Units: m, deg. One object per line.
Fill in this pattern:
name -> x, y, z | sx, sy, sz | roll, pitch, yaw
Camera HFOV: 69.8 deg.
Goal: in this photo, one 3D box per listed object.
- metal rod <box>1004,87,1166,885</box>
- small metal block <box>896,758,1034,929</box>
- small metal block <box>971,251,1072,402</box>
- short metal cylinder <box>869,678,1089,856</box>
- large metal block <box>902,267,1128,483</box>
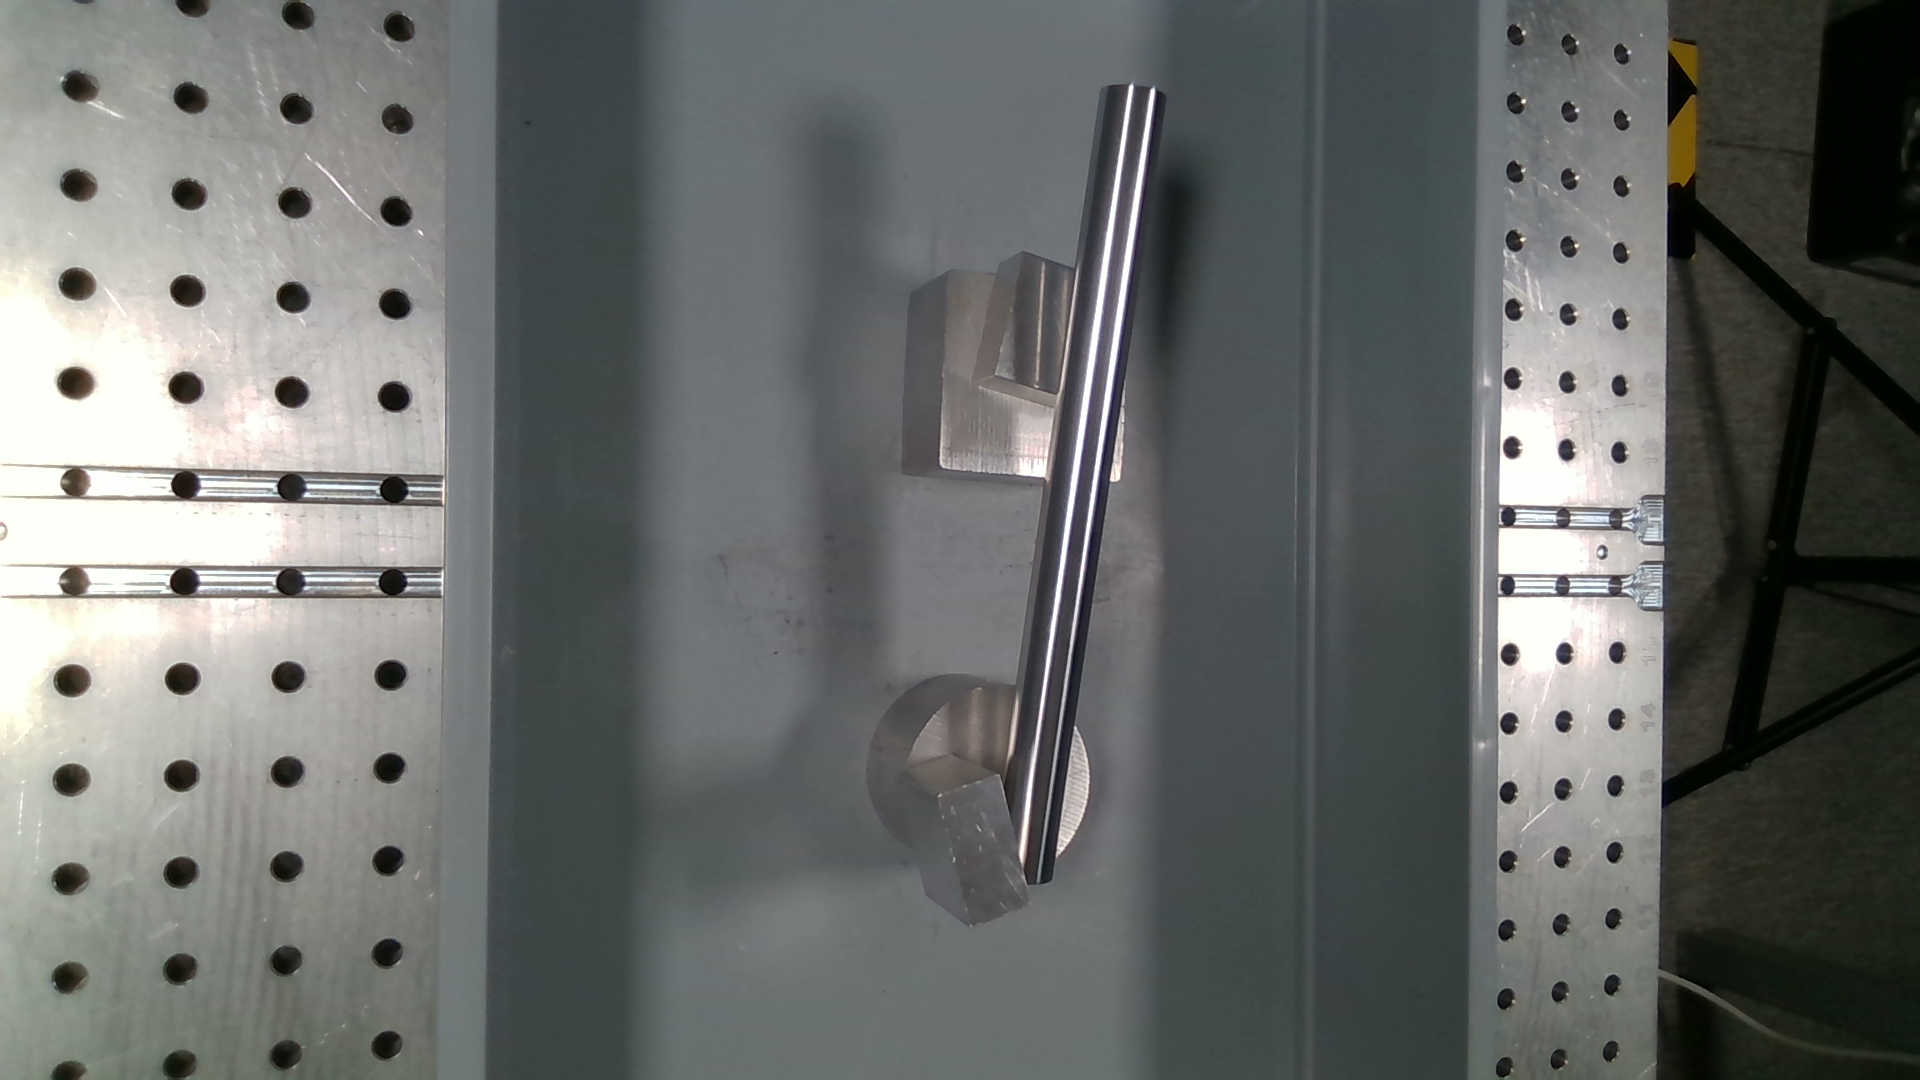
metal rod -> 0.044, -0.017, 0.526 | 0.025, 0.025, 0.300 | 6, 96, -20
small metal block -> 0.001, 0.112, 0.518 | 0.025, 0.050, 0.050 | -16, 95, -20
small metal block -> 0.037, -0.080, 0.545 | 0.050, 0.025, 0.050 | 14, 85, -20
short metal cylinder -> 0.007, 0.098, 0.574 | 0.080, 0.050, 0.080 | 0, 90, -20
large metal block -> 0.023, -0.065, 0.578 | 0.080, 0.050, 0.080 | 3, 89, -20
